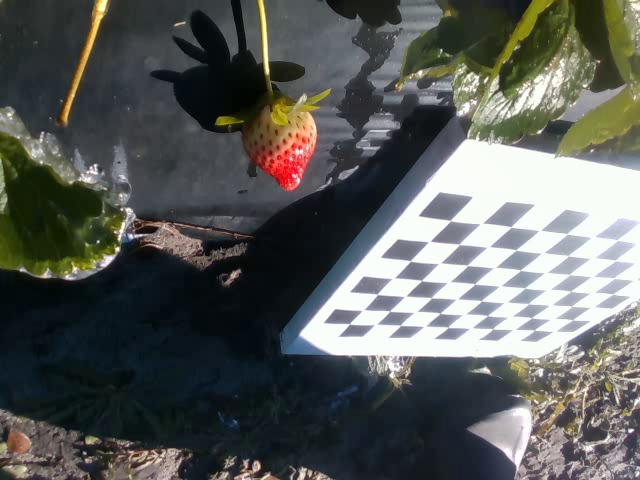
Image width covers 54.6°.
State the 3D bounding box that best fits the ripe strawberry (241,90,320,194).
[{"bbox_3d":[-0.016,-0.043,0.281,0.039,0.053,0.040,-7,41,-6],"label":"ripe strawberry"}]
